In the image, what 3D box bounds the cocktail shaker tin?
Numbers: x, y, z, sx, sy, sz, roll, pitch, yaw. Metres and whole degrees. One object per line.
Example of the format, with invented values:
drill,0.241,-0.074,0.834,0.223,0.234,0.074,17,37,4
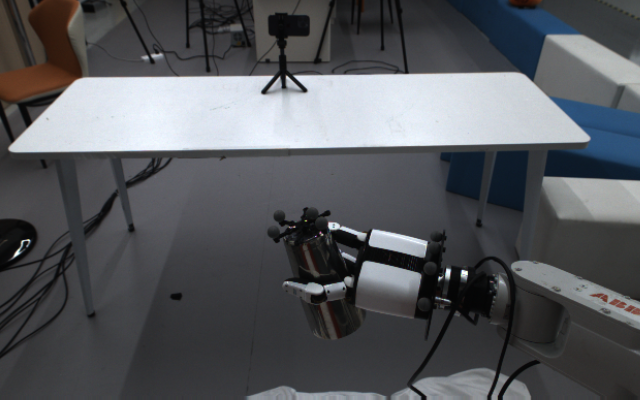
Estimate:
cocktail shaker tin,0.003,0.113,0.714,0.093,0.170,0.093,-15,28,8
